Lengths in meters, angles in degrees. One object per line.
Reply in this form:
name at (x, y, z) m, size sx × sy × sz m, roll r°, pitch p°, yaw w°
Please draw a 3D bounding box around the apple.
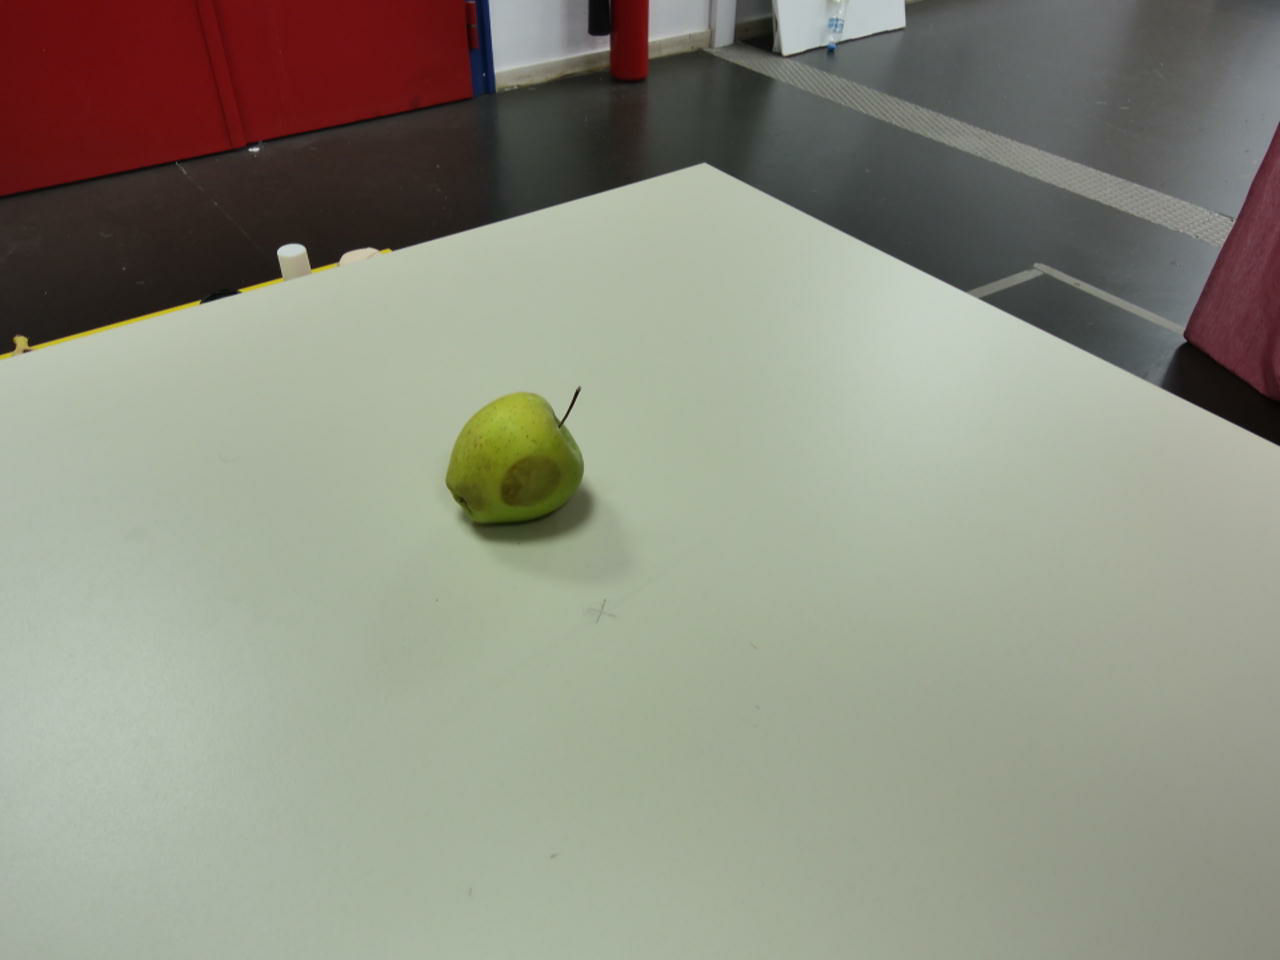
apple at (-0.071, -0.013, 0.579) m, size 0.077 × 0.075 × 0.072 m, roll 6°, pitch 38°, yaw 5°
